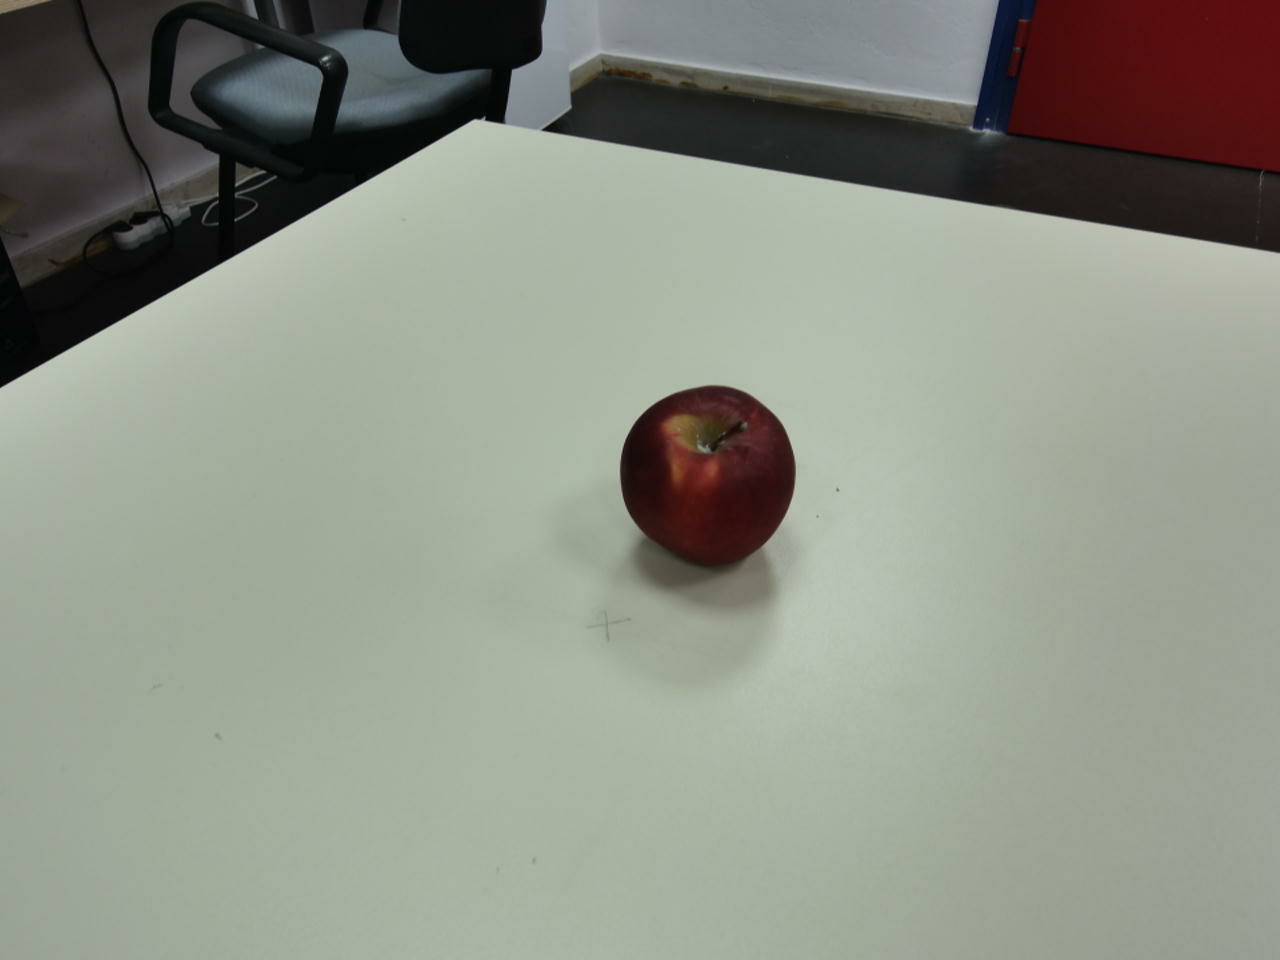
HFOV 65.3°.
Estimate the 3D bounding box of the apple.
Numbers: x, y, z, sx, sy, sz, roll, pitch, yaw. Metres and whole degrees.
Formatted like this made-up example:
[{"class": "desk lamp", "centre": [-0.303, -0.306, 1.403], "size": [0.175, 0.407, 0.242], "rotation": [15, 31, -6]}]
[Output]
[{"class": "apple", "centre": [0.027, -0.001, 0.393], "size": [0.070, 0.072, 0.070], "rotation": [1, 37, -1]}]
